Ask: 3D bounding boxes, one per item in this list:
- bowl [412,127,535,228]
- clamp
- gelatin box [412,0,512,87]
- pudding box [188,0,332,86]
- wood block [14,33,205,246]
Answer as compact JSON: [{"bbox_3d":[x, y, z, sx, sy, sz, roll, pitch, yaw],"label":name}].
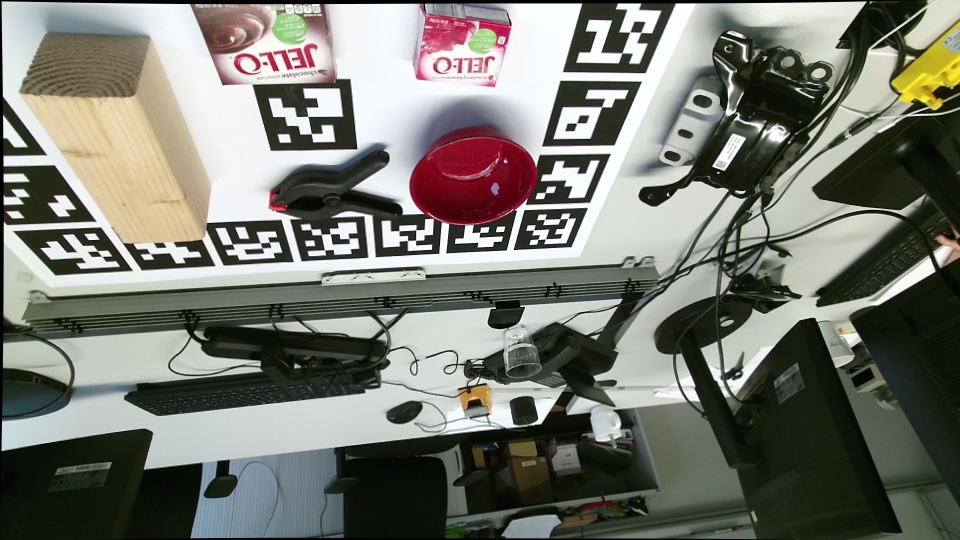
[{"bbox_3d":[-0.013,-0.128,0.691,0.162,0.055,0.162,-7,142,-5],"label":"bowl"},{"bbox_3d":[-0.179,-0.101,0.702,0.166,0.036,0.122,-9,145,0],"label":"clamp"},{"bbox_3d":[-0.020,-0.231,0.553,0.090,0.030,0.073,1,142,-17],"label":"gelatin box"},{"bbox_3d":[-0.203,-0.225,0.508,0.114,0.038,0.090,-6,141,-11],"label":"pudding box"},{"bbox_3d":[-0.367,-0.124,0.558,0.090,0.090,0.206,-2,144,-12],"label":"wood block"}]
